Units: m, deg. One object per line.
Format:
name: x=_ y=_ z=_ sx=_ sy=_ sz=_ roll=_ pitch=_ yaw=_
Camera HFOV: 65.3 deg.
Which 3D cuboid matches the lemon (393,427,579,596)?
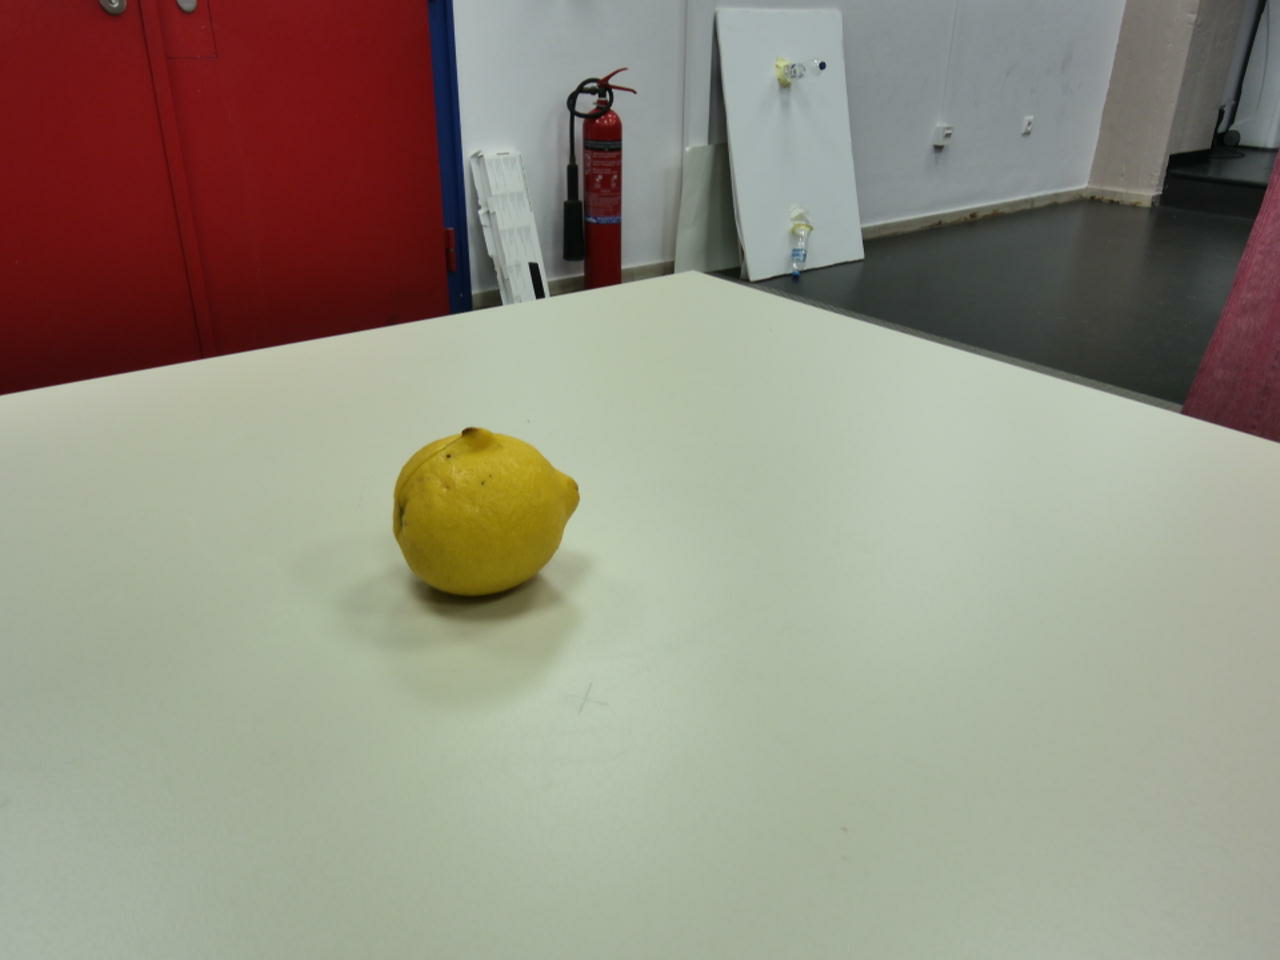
lemon: x=-0.067 y=0.011 z=0.410 sx=0.071 sy=0.071 sz=0.070 roll=7 pitch=24 yaw=16
